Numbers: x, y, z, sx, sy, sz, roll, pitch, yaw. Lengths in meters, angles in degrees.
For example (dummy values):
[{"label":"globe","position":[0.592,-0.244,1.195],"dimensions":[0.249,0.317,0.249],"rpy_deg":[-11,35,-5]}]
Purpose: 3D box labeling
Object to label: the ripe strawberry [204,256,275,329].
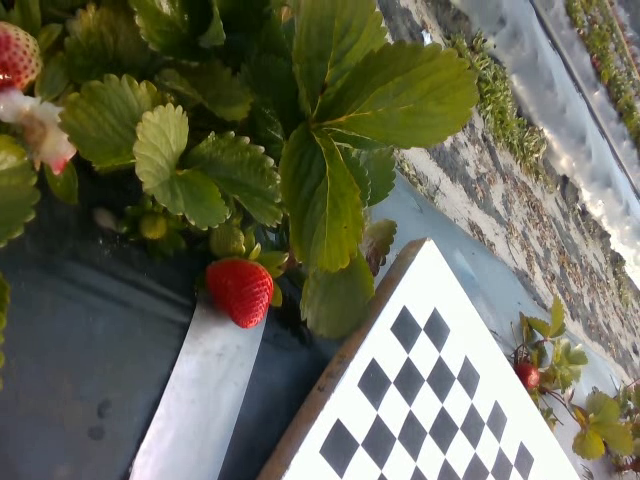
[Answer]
[{"label":"ripe strawberry","position":[-0.038,0.030,0.312],"dimensions":[0.036,0.050,0.055],"rpy_deg":[-19,32,27]}]
